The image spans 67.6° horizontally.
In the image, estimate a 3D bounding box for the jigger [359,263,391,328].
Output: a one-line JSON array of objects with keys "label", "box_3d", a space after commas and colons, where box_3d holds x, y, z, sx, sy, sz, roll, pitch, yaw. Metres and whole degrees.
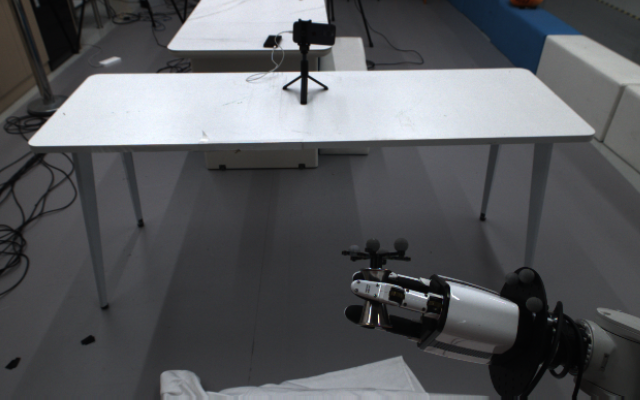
[{"label": "jigger", "box_3d": [0.067, 0.119, 0.597, 0.043, 0.043, 0.071, 3, 75, 1]}]
